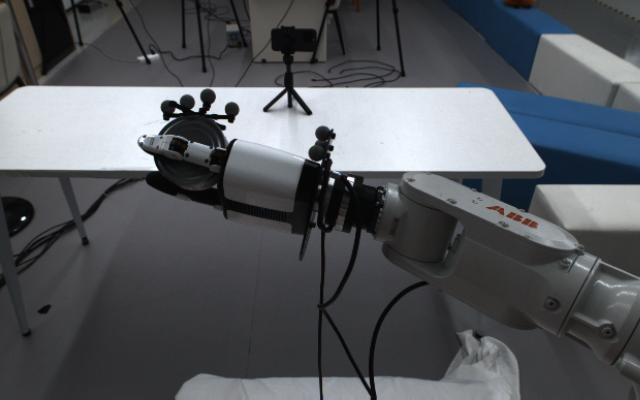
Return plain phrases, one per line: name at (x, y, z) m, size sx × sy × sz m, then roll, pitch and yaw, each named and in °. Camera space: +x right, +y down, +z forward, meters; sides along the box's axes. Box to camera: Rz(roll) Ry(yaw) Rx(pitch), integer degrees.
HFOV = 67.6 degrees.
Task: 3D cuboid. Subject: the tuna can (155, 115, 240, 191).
tuna can at (-0.150, -0.055, 0.577) m, size 0.085 × 0.034 × 0.085 m, roll -1°, pitch 77°, yaw 3°
